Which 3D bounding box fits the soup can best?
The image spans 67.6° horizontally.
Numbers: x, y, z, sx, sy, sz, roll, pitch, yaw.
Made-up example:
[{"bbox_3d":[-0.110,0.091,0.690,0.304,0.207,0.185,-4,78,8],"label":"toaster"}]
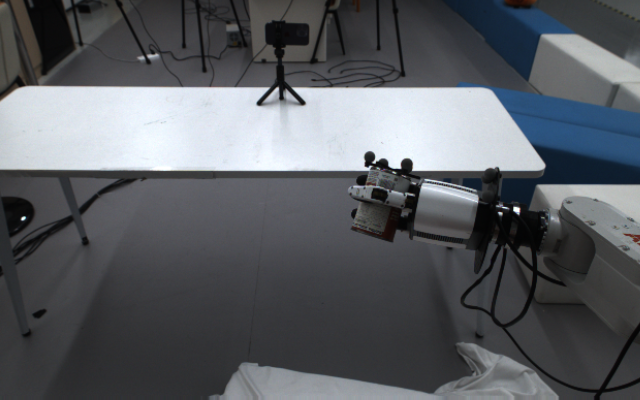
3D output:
[{"bbox_3d":[0.095,0.007,0.743,0.067,0.101,0.067,17,-1,0],"label":"soup can"}]
